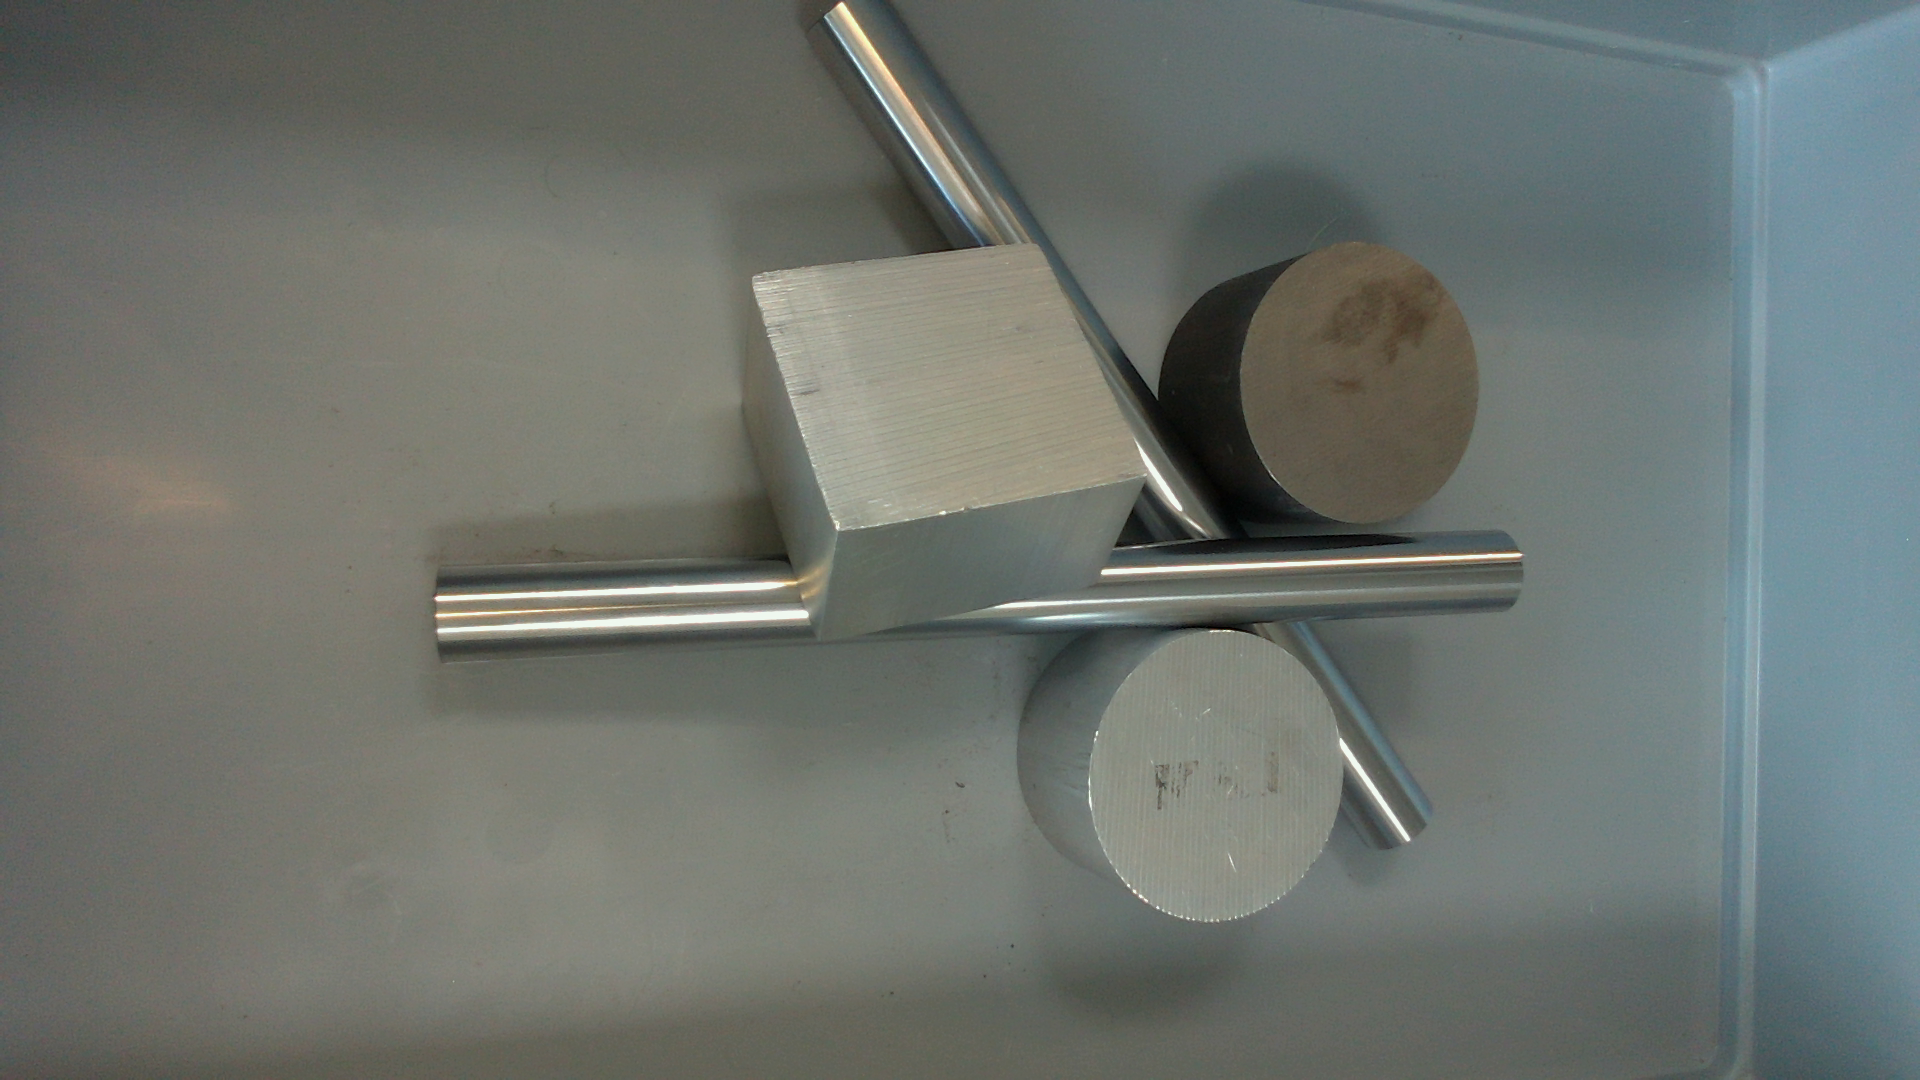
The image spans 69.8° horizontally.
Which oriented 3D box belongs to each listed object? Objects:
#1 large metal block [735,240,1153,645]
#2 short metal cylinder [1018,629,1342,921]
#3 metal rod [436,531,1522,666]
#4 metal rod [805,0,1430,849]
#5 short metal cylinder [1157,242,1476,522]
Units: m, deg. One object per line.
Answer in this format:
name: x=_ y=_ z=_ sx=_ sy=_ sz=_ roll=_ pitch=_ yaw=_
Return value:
large metal block: x=-0.008 y=-0.027 z=0.357 sx=0.080 sy=0.050 sz=0.080 roll=-11 pitch=59 yaw=-19
short metal cylinder: x=0.063 y=0.065 z=0.402 sx=0.080 sy=0.050 sz=0.080 roll=0 pitch=90 yaw=-20
metal rod: x=0.016 y=0.014 z=0.380 sx=0.301 sy=0.025 sz=0.025 roll=-2 pitch=91 yaw=-14
metal rod: x=0.054 y=-0.028 z=0.412 sx=0.025 sy=0.025 sz=0.300 roll=-40 pitch=103 yaw=-15
short metal cylinder: x=0.107 y=-0.045 z=0.418 sx=0.080 sy=0.050 sz=0.080 roll=0 pitch=90 yaw=-20
